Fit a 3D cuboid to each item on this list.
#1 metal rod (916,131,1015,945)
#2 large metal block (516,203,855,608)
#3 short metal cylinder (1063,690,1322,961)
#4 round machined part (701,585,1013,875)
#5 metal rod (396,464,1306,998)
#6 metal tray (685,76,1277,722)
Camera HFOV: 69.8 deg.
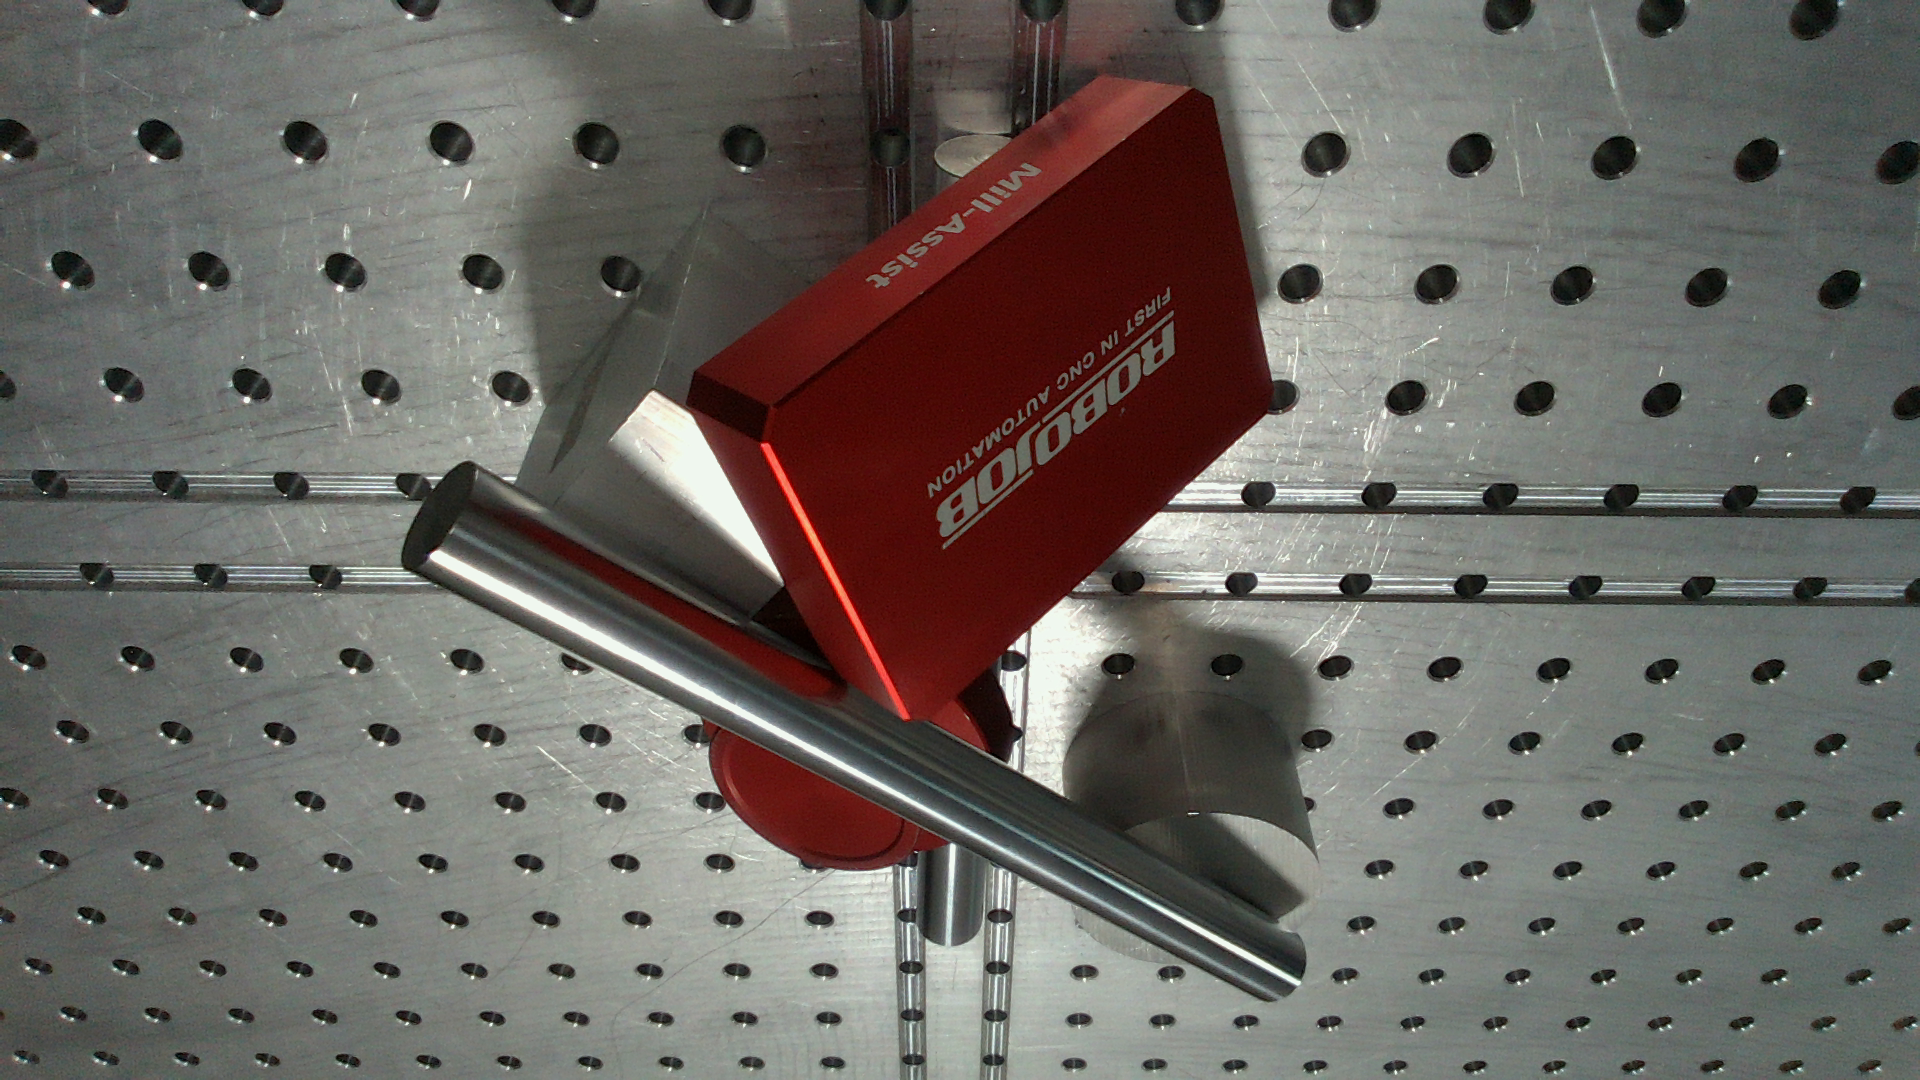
[{"bbox_3d":[0.001,0.025,0.415,0.025,0.025,0.300,2,130,-1],"label":"metal rod"},{"bbox_3d":[-0.069,-0.022,0.340,0.050,0.080,0.080,34,122,-25],"label":"large metal block"},{"bbox_3d":[0.076,0.096,0.460,0.080,0.050,0.080,0,130,0],"label":"short metal cylinder"},{"bbox_3d":[-0.036,0.063,0.415,0.098,0.042,0.098,11,131,13],"label":"round machined part"},{"bbox_3d":[-0.001,0.065,0.356,0.025,0.025,0.301,-36,130,26],"label":"metal rod"},{"bbox_3d":[0.013,-0.033,0.311,0.130,0.030,0.090,-40,131,-21],"label":"metal tray"}]
